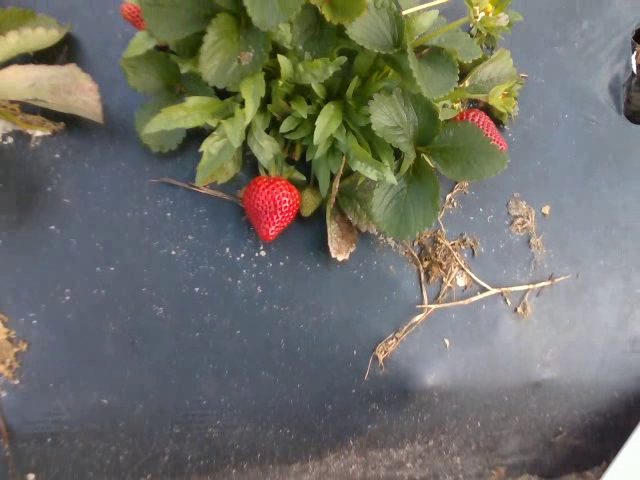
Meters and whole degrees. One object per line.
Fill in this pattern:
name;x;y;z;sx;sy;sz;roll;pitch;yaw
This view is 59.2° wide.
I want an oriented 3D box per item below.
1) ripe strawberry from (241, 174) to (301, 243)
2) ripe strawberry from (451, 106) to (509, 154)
ripe strawberry;-0.035;-0.021;0.375;0.043;0.051;0.043;8;-14;-11
ripe strawberry;0.115;-0.075;0.405;0.046;0.043;0.046;26;8;16
